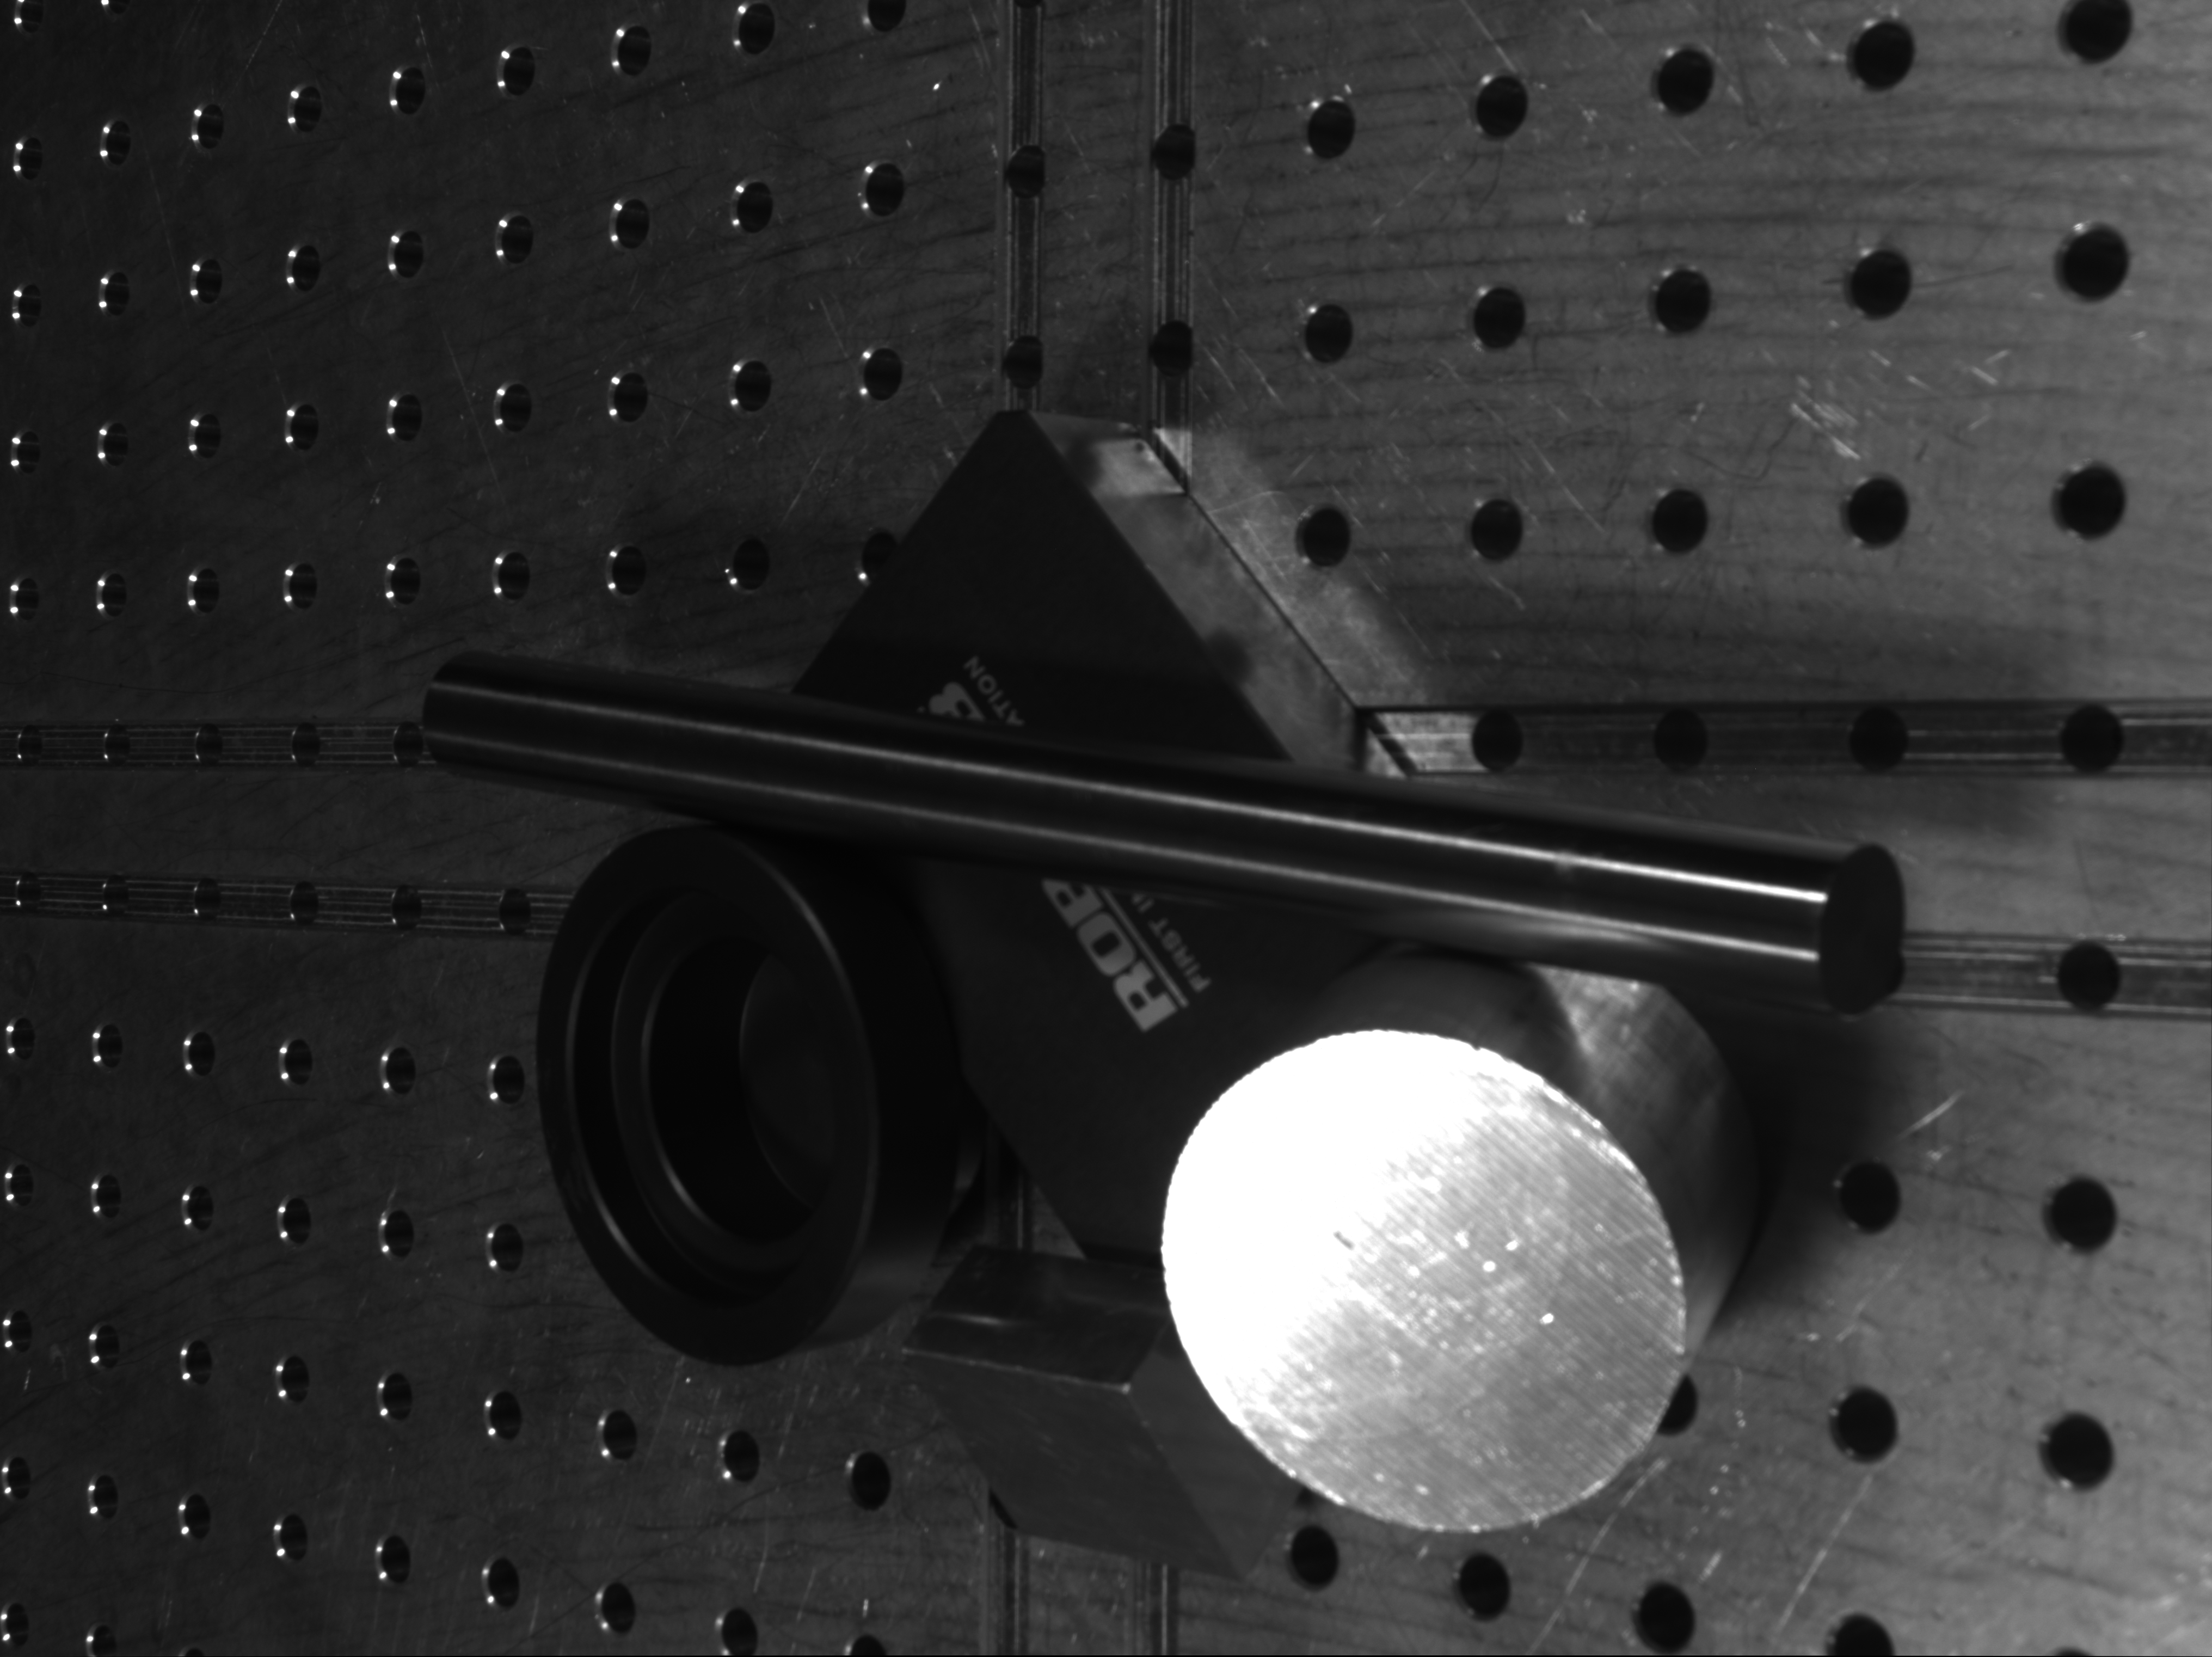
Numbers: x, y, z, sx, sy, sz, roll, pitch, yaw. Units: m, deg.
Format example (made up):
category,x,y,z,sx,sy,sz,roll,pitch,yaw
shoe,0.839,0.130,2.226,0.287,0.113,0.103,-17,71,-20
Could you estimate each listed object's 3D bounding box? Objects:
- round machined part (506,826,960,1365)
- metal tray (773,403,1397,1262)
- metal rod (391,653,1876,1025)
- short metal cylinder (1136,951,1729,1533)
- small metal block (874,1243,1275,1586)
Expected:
category,x,y,z,sx,sy,sz,roll,pitch,yaw
round machined part,-0.065,0.046,0.675,0.098,0.042,0.098,8,101,44
metal tray,-0.001,0.001,0.639,0.090,0.030,0.130,-51,61,27
metal rod,-0.013,-0.003,0.609,0.299,0.025,0.025,9,96,39
short metal cylinder,0.051,0.060,0.562,0.080,0.050,0.080,7,111,19
small metal block,-0.004,0.100,0.625,0.050,0.025,0.050,3,135,39
